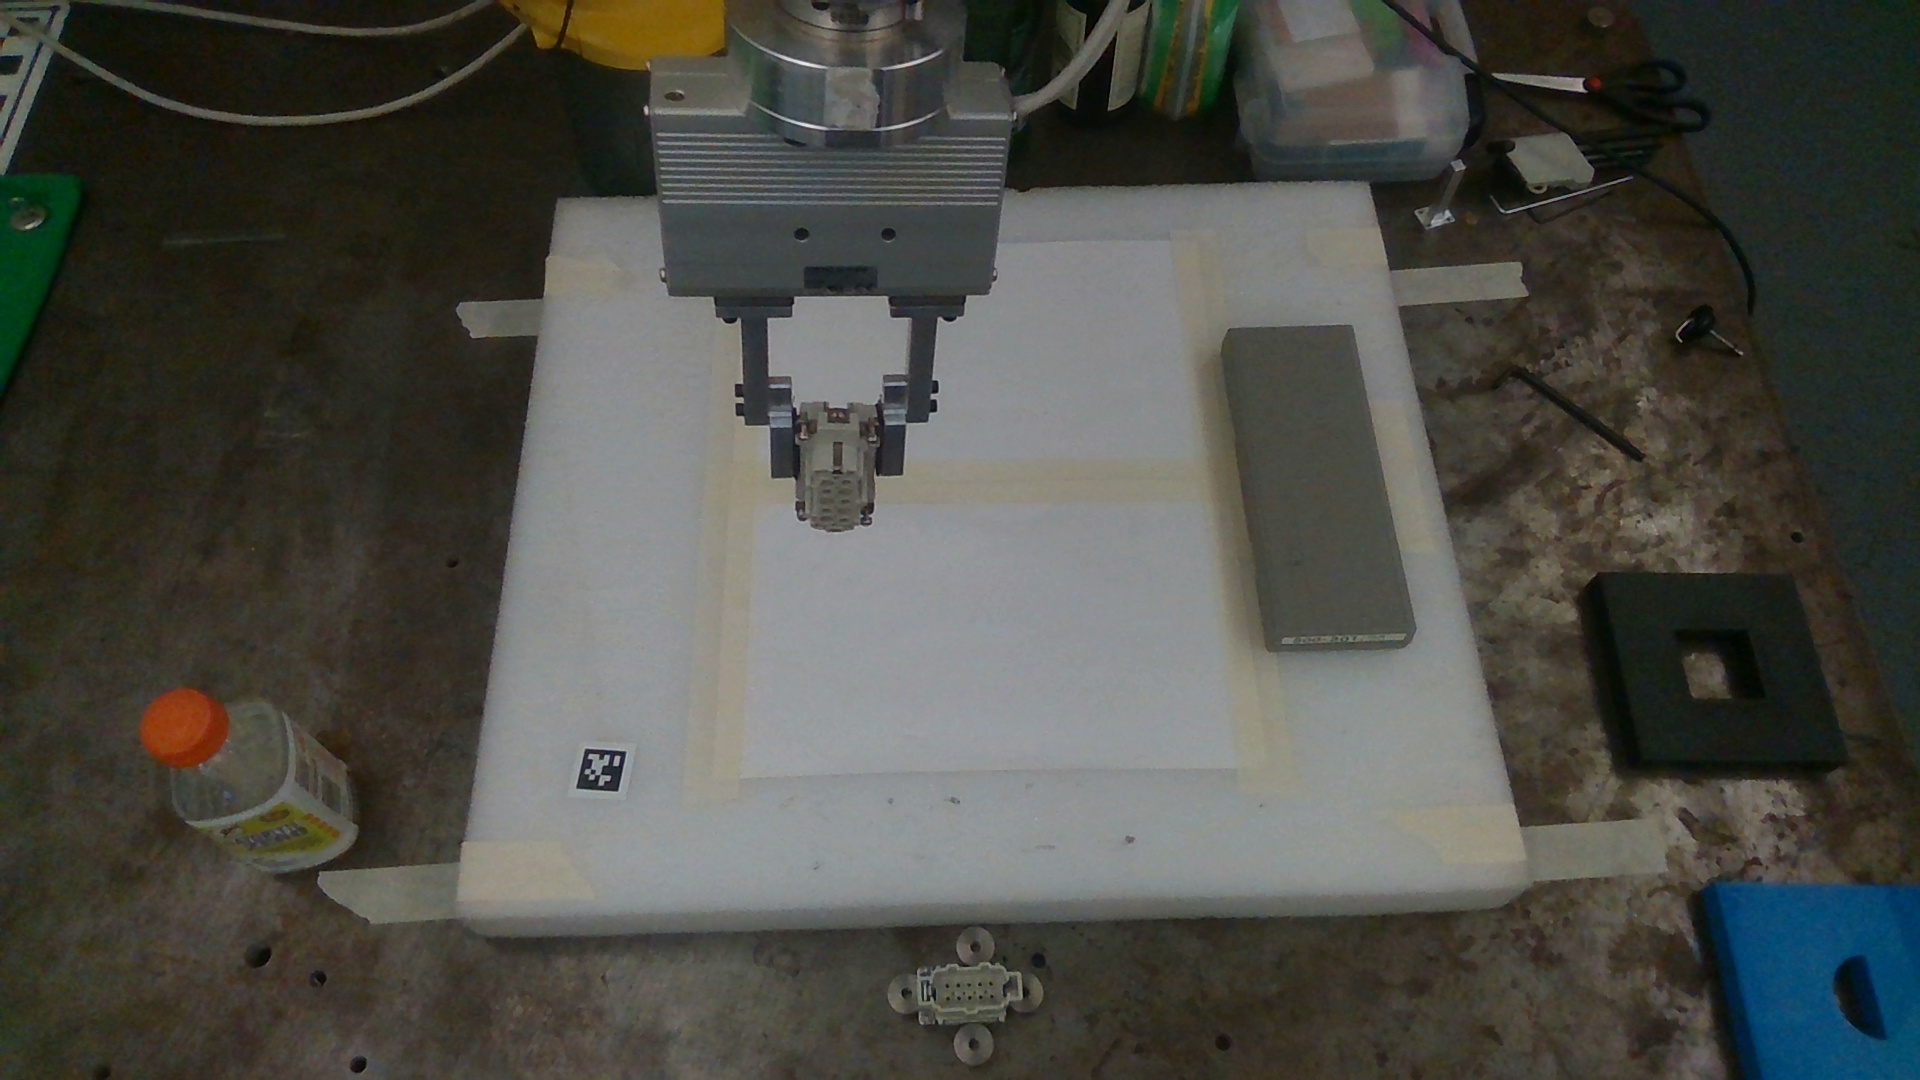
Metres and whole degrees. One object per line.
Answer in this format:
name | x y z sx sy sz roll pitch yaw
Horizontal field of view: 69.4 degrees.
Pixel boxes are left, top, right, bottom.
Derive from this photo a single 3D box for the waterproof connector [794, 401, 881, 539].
waterproof connector | -0.054 -0.030 0.604 0.037 0.069 0.038 2 48 -5
